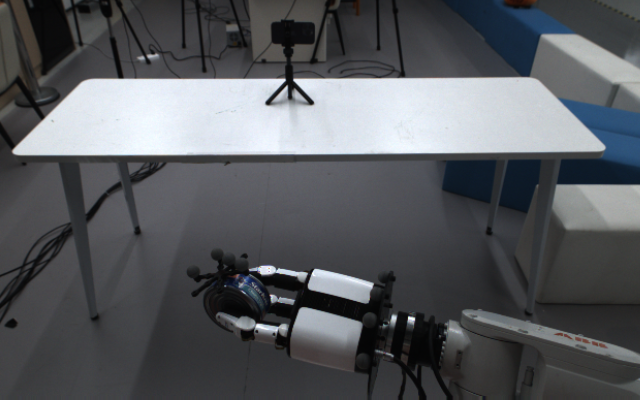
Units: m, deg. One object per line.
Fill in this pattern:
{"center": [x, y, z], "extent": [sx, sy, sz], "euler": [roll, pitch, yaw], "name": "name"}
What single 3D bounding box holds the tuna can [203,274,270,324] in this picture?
{"center": [-0.107, 0.143, 0.641], "extent": [0.085, 0.085, 0.034], "euler": [11, 34, 13], "name": "tuna can"}
